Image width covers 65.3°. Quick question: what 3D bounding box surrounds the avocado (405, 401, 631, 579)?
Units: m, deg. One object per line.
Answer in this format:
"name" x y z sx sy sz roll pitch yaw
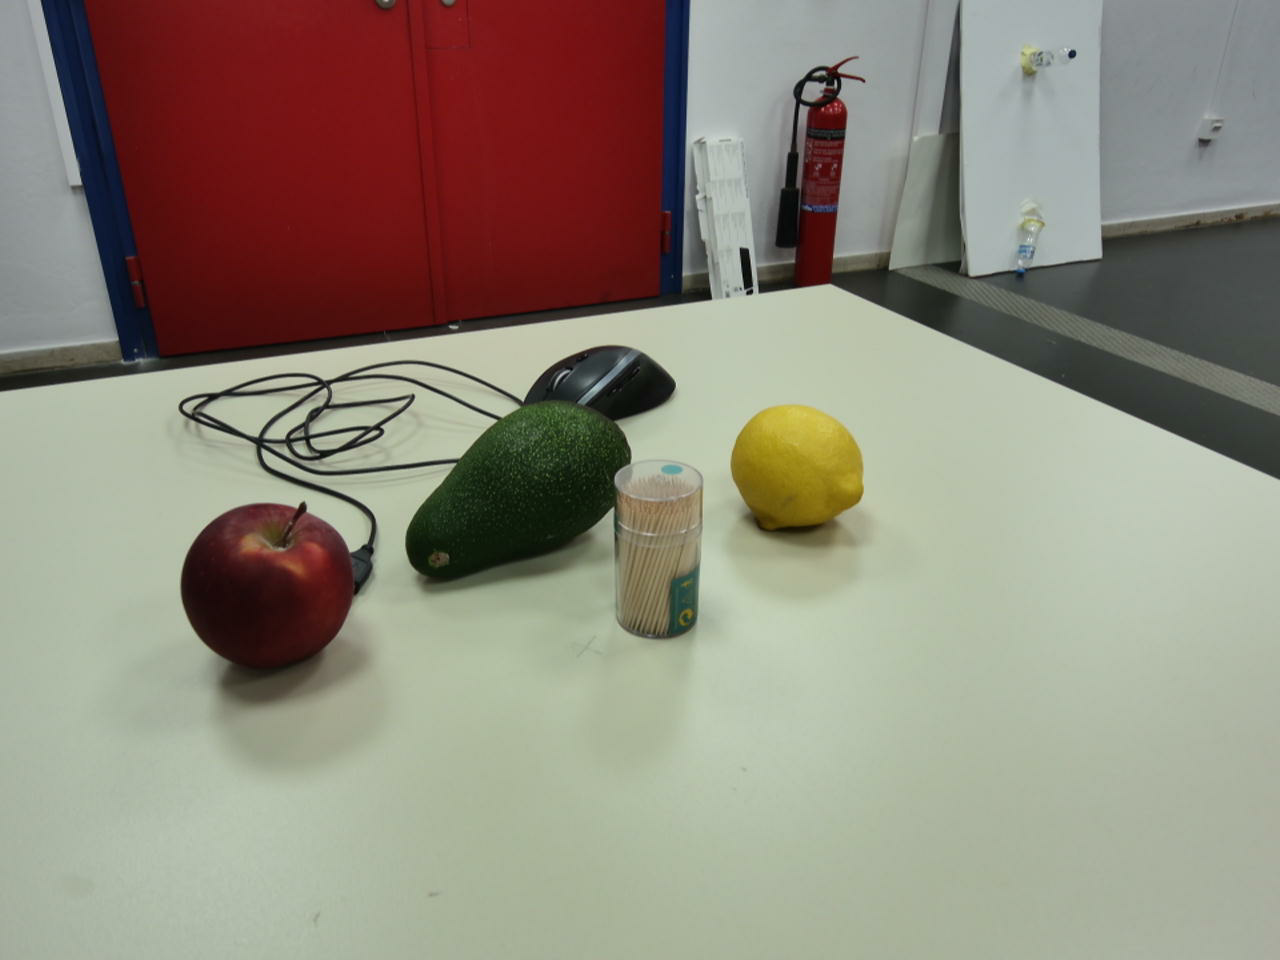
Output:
"avocado" -0.064 -0.001 0.515 0.123 0.076 0.074 -8 27 -18
